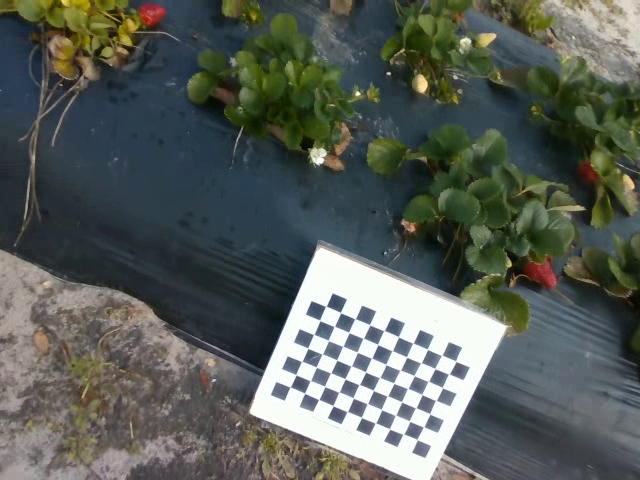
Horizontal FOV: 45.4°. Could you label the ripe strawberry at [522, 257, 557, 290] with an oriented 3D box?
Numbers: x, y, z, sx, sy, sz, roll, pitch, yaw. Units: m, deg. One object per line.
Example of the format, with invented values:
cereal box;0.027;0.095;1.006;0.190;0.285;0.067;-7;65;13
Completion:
ripe strawberry;0.325;0.046;1.113;0.050;0.064;0.043;-34;8;1
